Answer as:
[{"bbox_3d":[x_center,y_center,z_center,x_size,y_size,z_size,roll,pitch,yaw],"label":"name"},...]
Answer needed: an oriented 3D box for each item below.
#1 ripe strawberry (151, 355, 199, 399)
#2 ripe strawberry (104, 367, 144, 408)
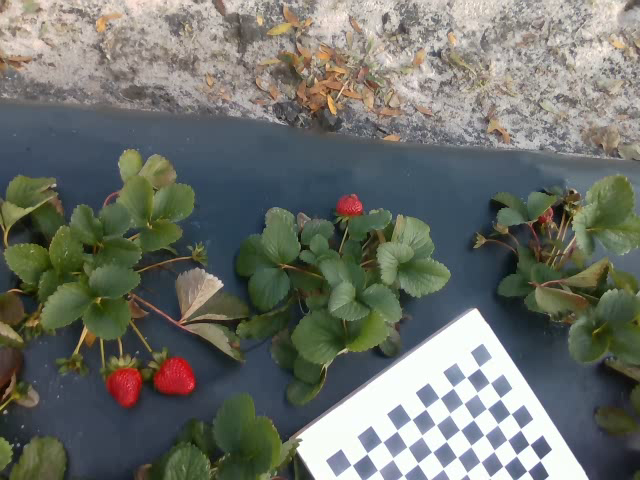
[{"bbox_3d":[-0.190,0.183,0.795,0.064,0.058,0.051,26,-24,28],"label":"ripe strawberry"},{"bbox_3d":[-0.251,0.192,0.783,0.048,0.056,0.041,-16,-33,-17],"label":"ripe strawberry"}]
